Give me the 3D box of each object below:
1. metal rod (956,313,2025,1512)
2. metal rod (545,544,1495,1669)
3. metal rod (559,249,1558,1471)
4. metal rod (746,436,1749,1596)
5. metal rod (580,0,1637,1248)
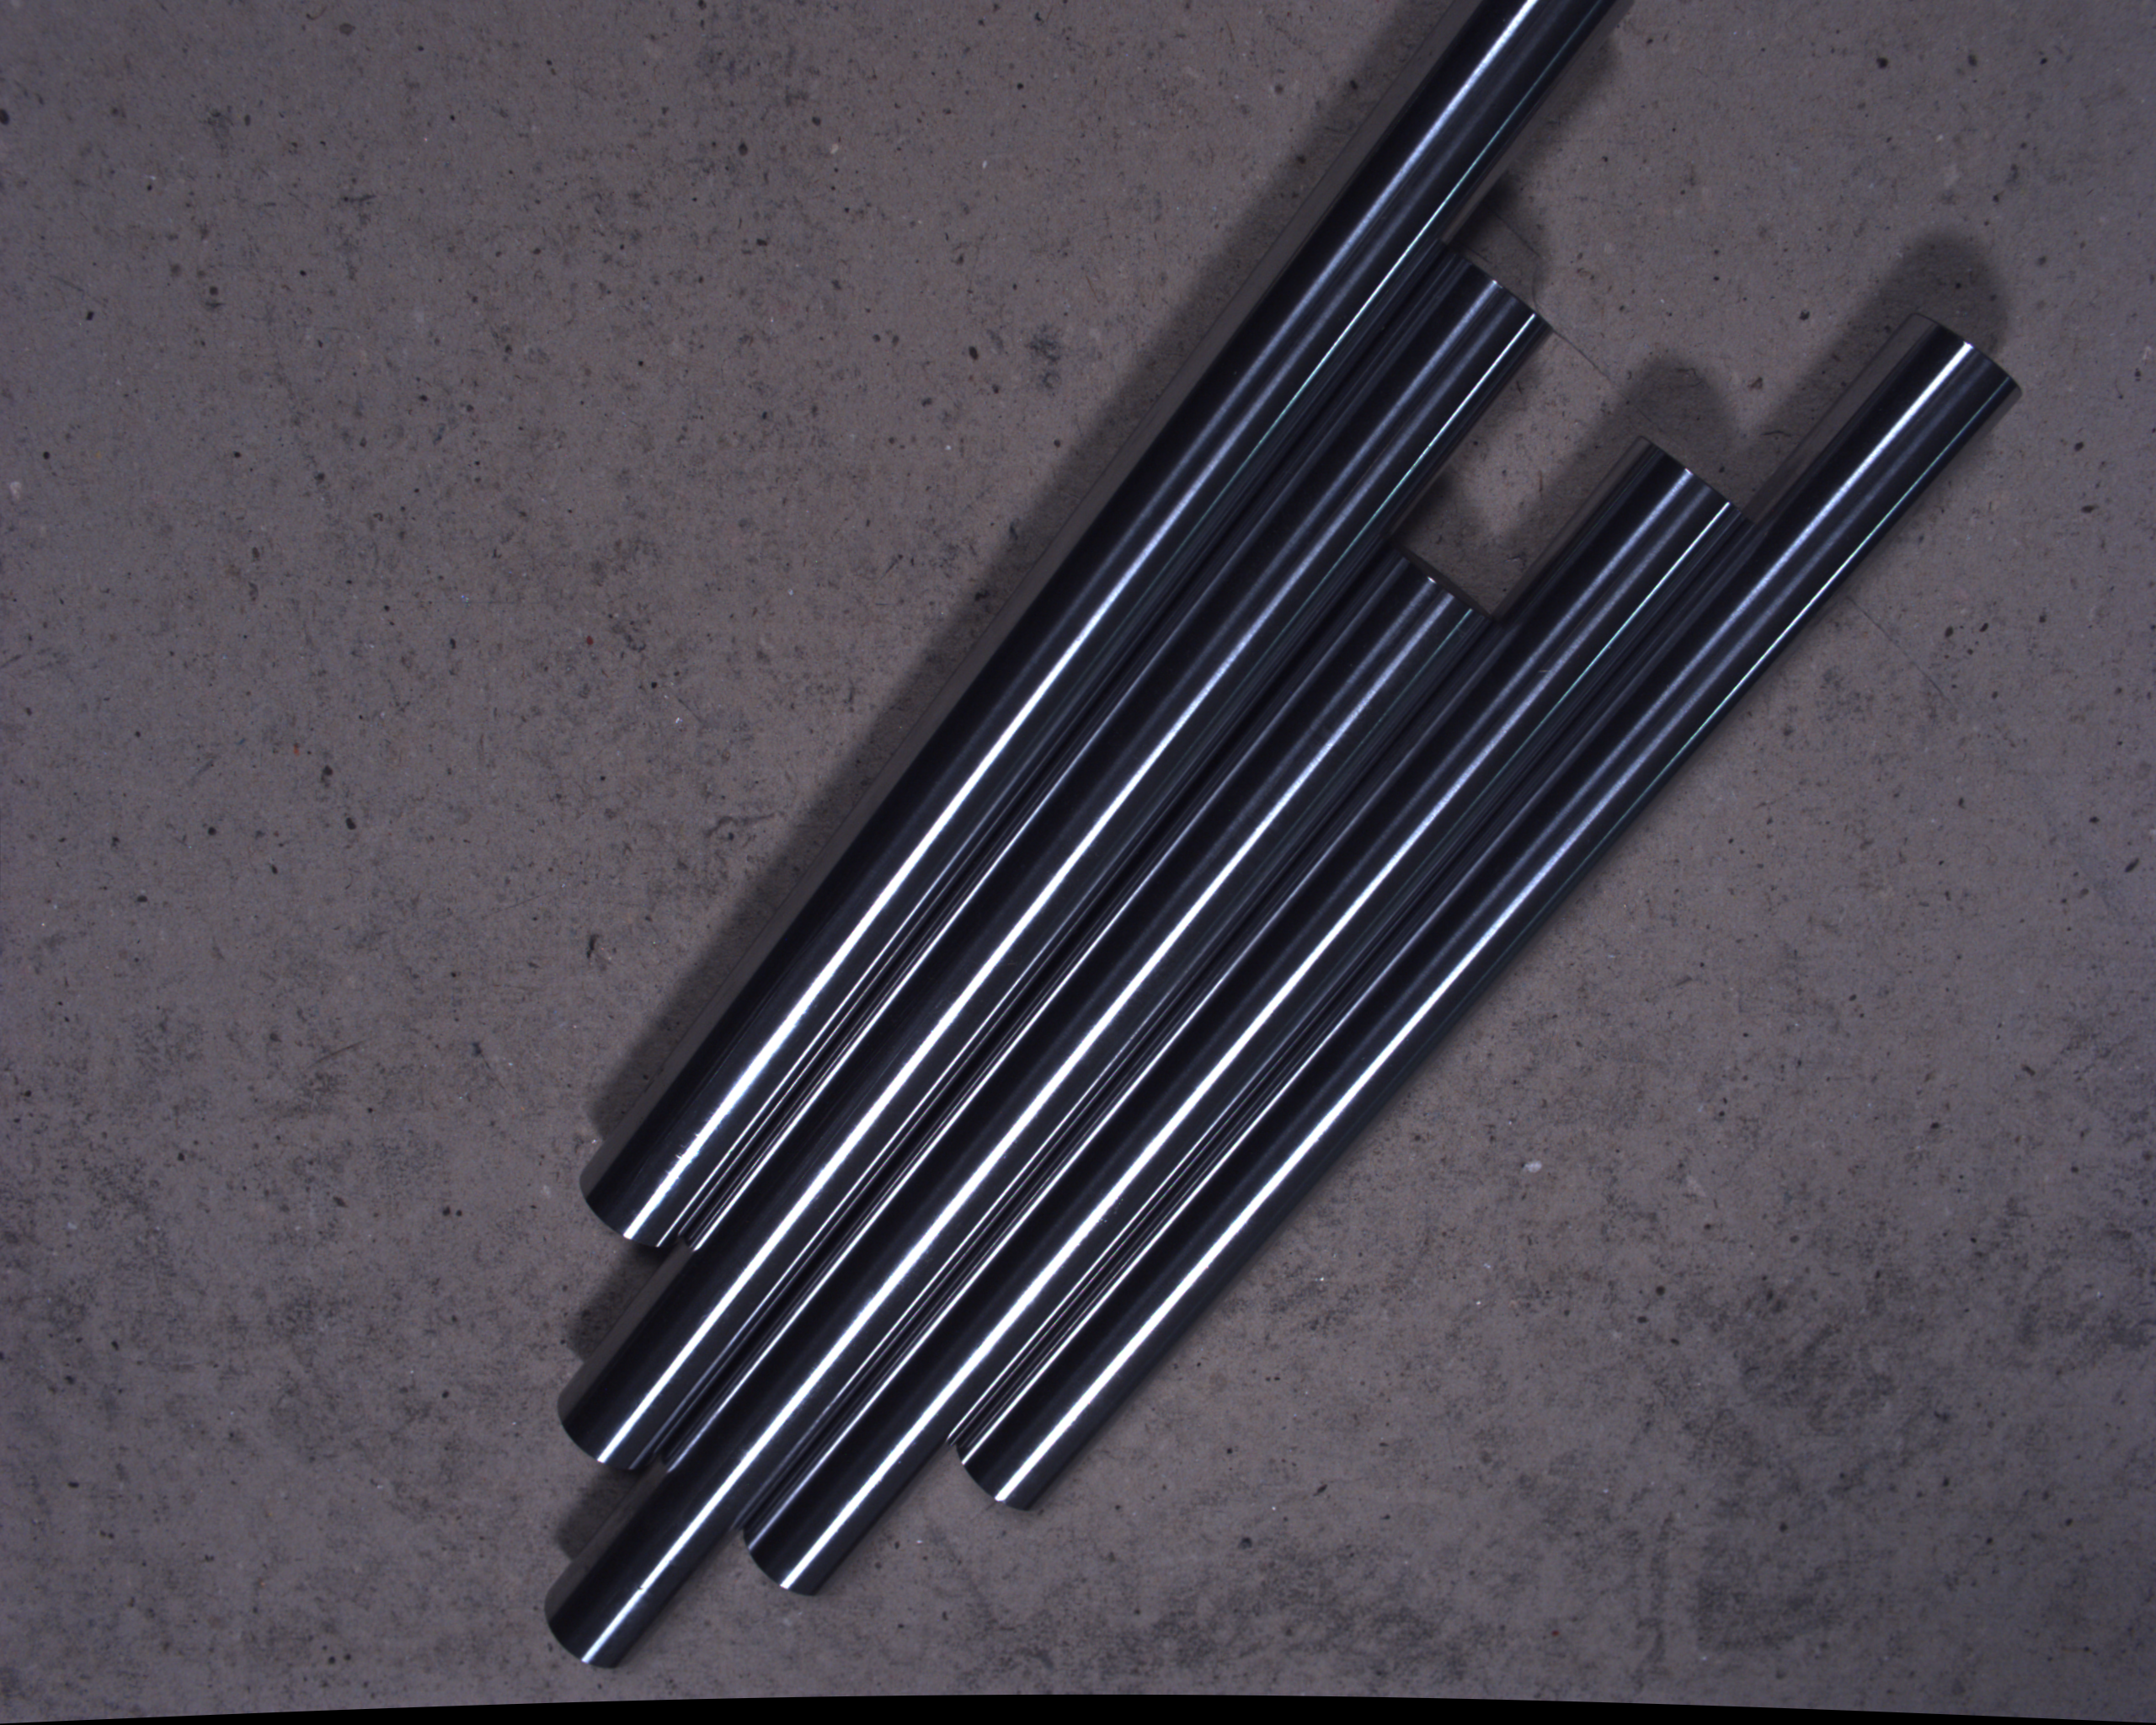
[{"bbox_3d":[0.072,0.021,0.419,0.025,0.025,0.299,35,106,-12],"label":"metal rod"},{"bbox_3d":[-0.021,0.060,0.433,0.025,0.025,0.299,35,106,-12],"label":"metal rod"},{"bbox_3d":[-0.013,0.010,0.415,0.025,0.025,0.299,35,106,-12],"label":"metal rod"},{"bbox_3d":[0.025,0.041,0.426,0.025,0.025,0.299,35,106,-12],"label":"metal rod"},{"bbox_3d":[-0.004,-0.041,0.396,0.025,0.025,0.299,35,106,-12],"label":"metal rod"}]
